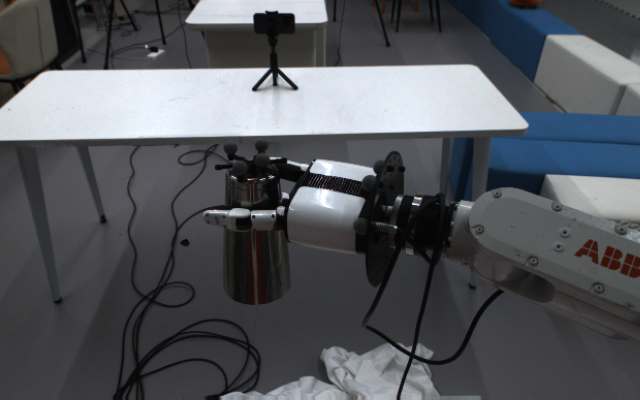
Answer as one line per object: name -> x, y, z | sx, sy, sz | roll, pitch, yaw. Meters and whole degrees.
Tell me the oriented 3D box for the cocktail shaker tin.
cocktail shaker tin -> -0.082, 0.037, 0.632 | 0.093, 0.170, 0.093 | 1, 27, -1
